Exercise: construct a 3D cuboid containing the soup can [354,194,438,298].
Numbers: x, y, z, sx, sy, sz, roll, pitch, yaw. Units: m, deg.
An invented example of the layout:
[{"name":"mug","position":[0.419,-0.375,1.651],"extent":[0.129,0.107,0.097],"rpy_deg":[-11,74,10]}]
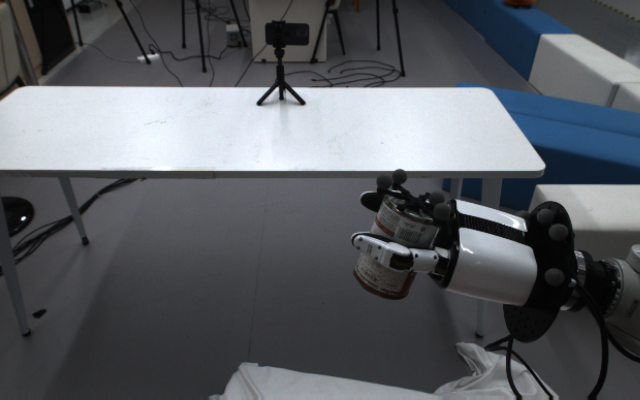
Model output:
[{"name":"soup can","position":[0.088,0.050,0.543],"extent":[0.067,0.101,0.067],"rpy_deg":[16,21,-7]}]
